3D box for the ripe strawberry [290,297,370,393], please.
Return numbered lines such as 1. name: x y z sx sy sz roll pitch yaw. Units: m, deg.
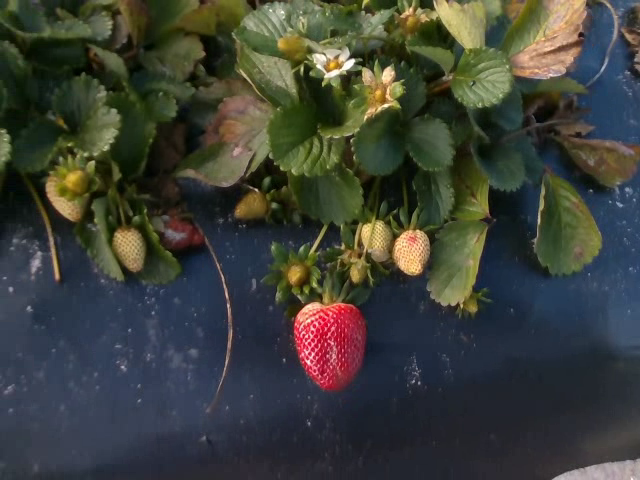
1. ripe strawberry: 0.007 0.074 0.439 0.052 0.068 0.045 1 -37 -12
